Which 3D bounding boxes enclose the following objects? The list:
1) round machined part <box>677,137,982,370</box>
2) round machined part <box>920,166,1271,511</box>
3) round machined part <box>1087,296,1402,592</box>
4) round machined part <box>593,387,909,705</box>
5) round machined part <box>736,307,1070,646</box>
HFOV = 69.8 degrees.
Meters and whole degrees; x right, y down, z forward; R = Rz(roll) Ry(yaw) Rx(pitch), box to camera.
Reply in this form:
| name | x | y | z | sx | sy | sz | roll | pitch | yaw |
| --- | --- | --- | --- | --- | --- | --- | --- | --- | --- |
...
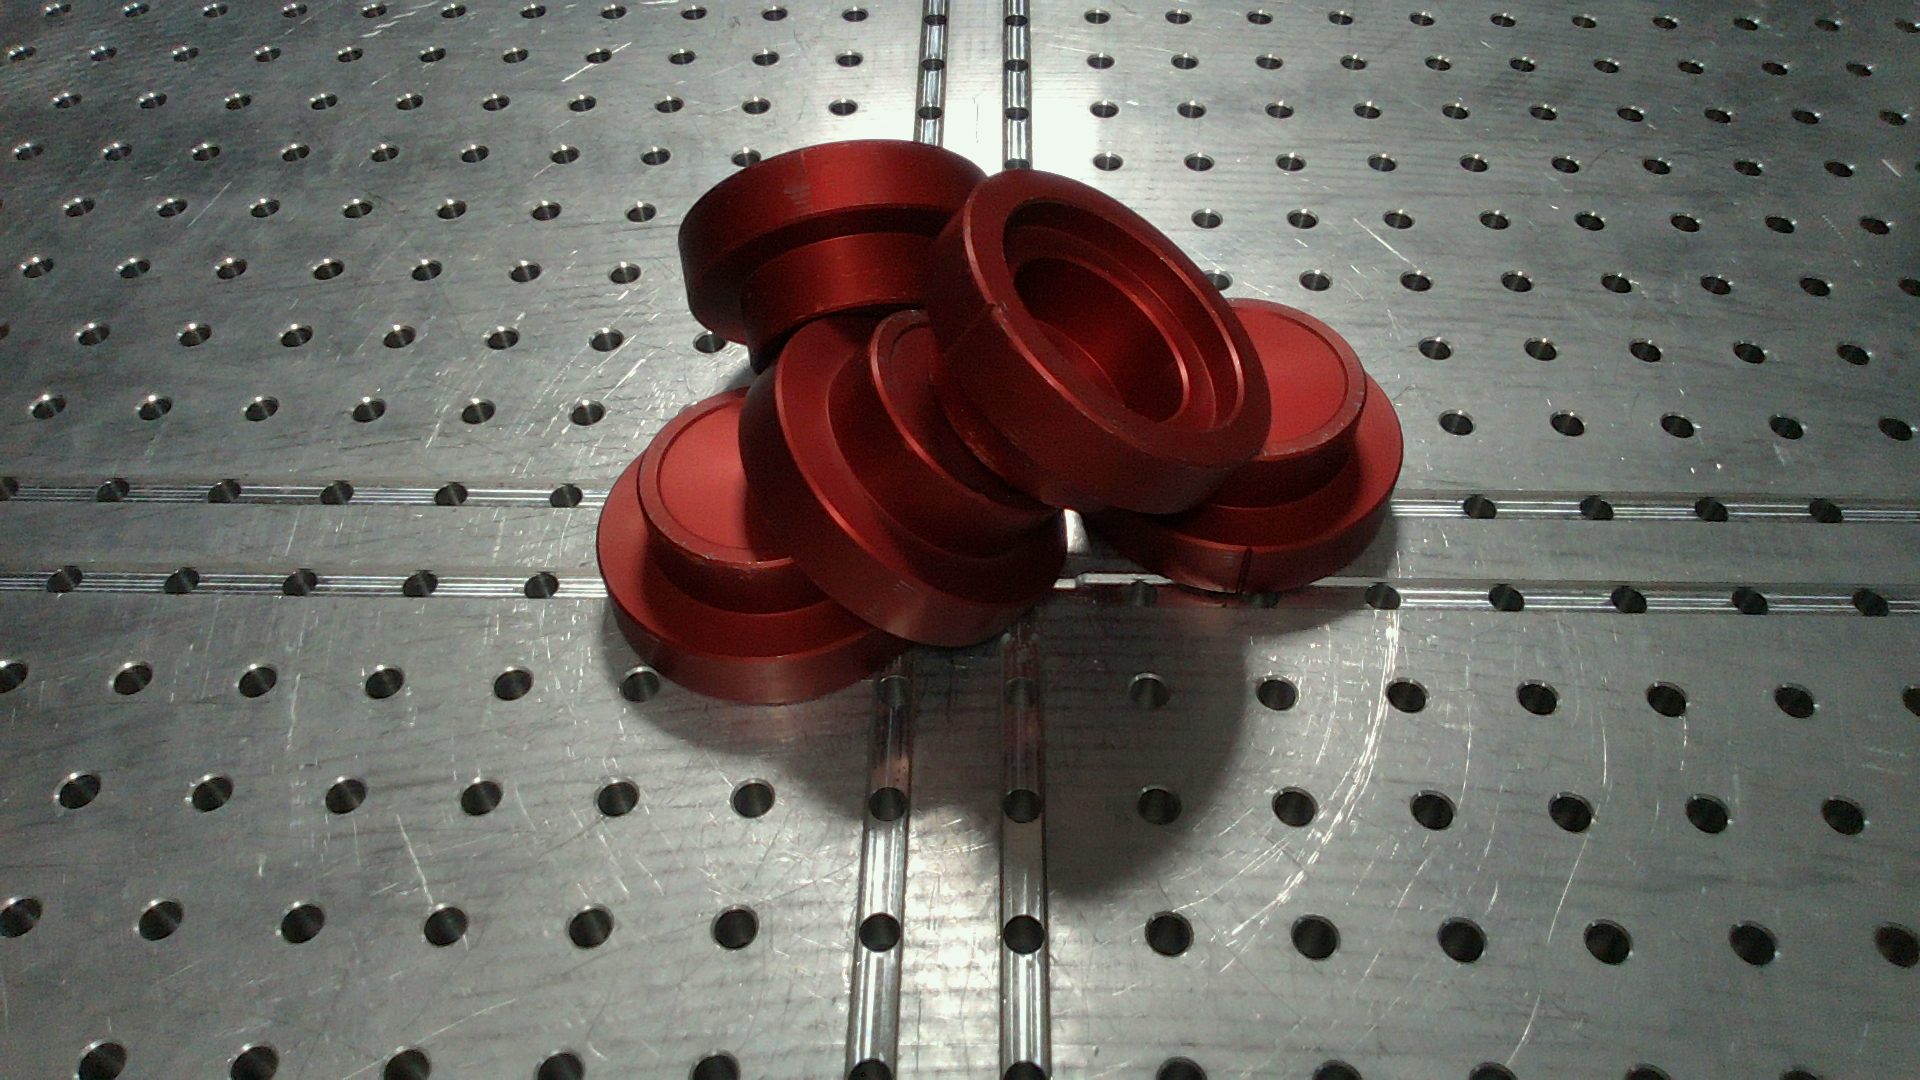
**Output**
| name | x | y | z | sx | sy | sz | roll | pitch | yaw |
| --- | --- | --- | --- | --- | --- | --- | --- | --- | --- |
| round machined part | -0.034 | -0.077 | 0.419 | 0.098 | 0.098 | 0.042 | -10 | 76 | -8 |
| round machined part | 0.031 | -0.047 | 0.361 | 0.098 | 0.042 | 0.098 | 23 | 43 | -24 |
| round machined part | 0.083 | -0.035 | 0.413 | 0.098 | 0.042 | 0.098 | 0 | 50 | 0 |
| round machined part | -0.054 | -0.006 | 0.389 | 0.098 | 0.042 | 0.098 | 0 | 50 | 0 |
| round machined part | -0.007 | -0.024 | 0.373 | 0.098 | 0.042 | 0.098 | 28 | 40 | -25 |
